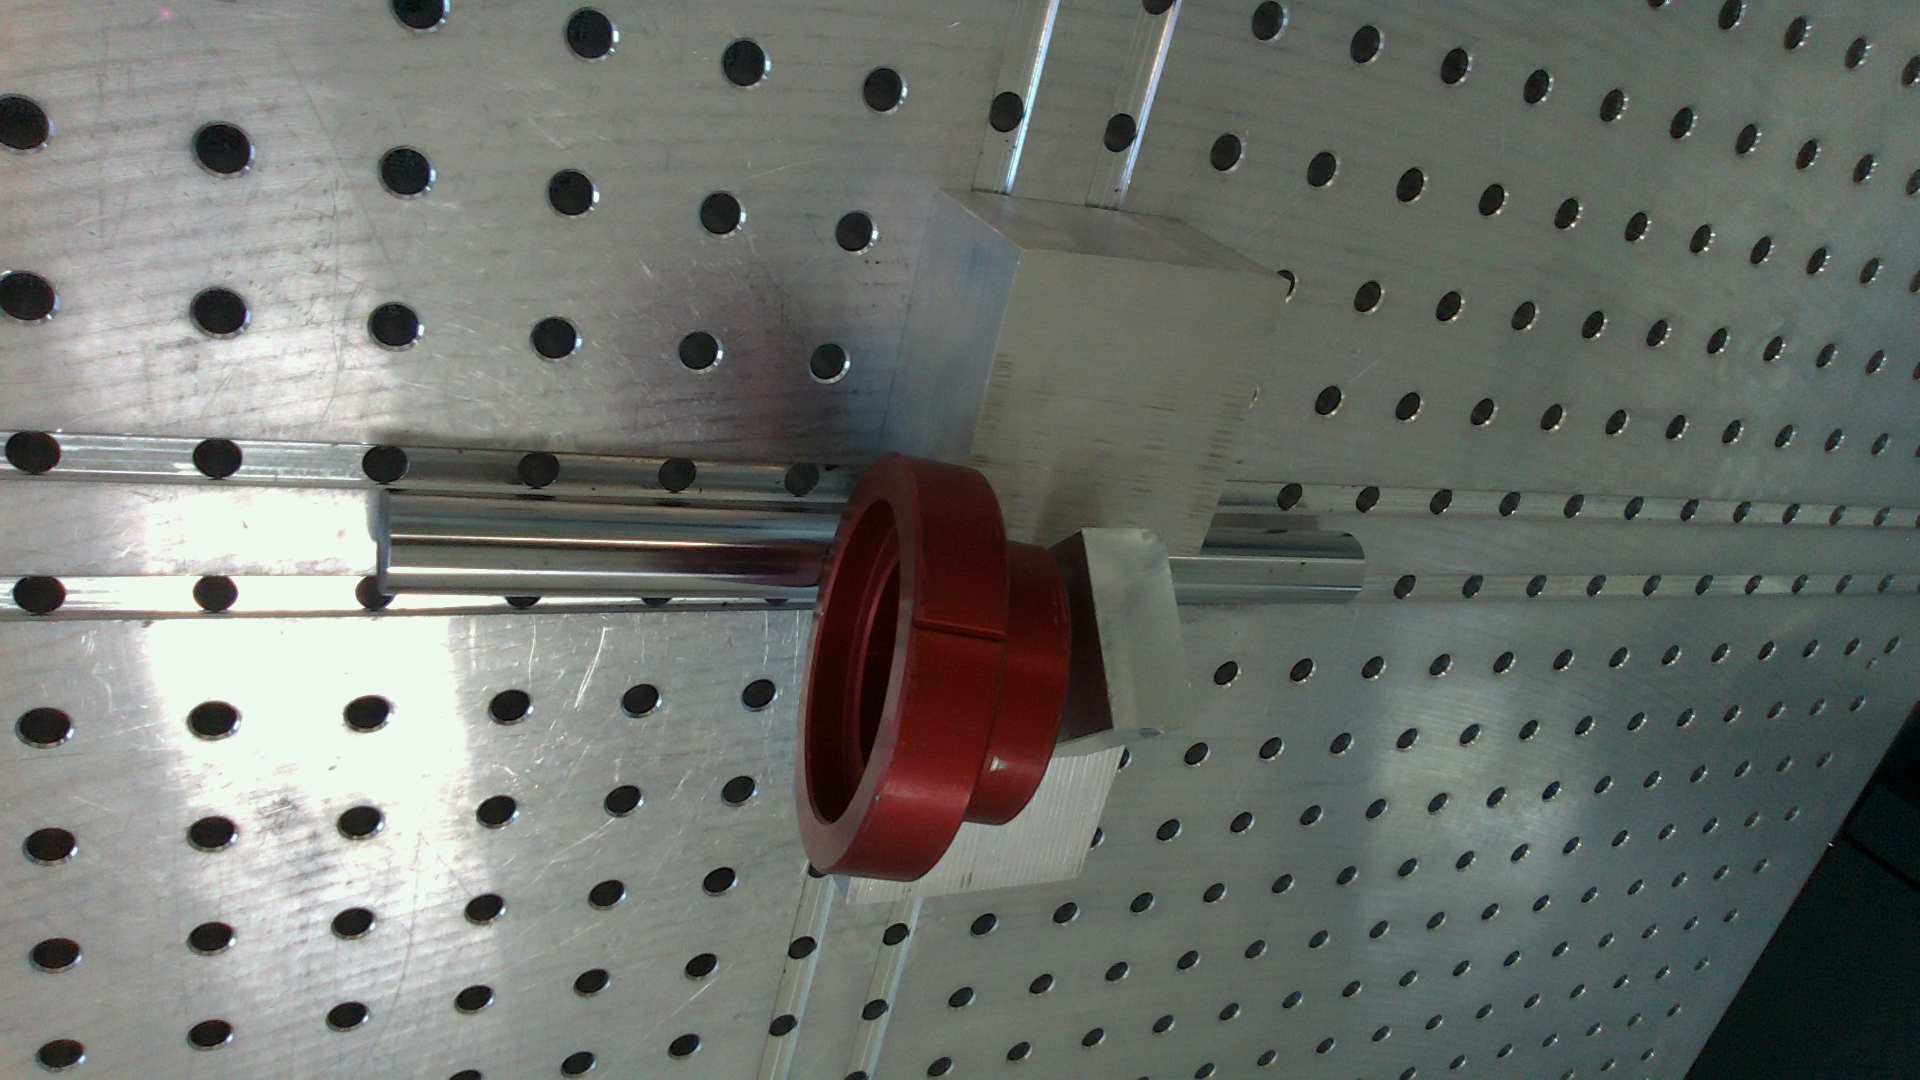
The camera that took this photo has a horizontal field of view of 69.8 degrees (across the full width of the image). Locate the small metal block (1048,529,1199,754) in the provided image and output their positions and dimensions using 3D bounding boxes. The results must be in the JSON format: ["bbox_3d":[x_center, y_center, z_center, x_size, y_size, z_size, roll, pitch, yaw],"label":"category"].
[{"bbox_3d":[0.033,0.028,0.354,0.025,0.050,0.050,1,74,-29],"label":"small metal block"}]

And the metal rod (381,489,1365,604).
[{"bbox_3d":[-0.003,0.005,0.393,0.301,0.025,0.025,2,118,-29],"label":"metal rod"}]

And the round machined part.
[{"bbox_3d":[-0.006,0.031,0.324,0.042,0.098,0.098,11,114,-17],"label":"round machined part"}]

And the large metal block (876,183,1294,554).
[{"bbox_3d":[0.030,-0.043,0.366,0.080,0.050,0.080,0,118,-29],"label":"large metal block"}]

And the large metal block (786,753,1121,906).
[{"bbox_3d":[0.001,0.057,0.412,0.080,0.050,0.080,1,118,-29],"label":"large metal block"}]
